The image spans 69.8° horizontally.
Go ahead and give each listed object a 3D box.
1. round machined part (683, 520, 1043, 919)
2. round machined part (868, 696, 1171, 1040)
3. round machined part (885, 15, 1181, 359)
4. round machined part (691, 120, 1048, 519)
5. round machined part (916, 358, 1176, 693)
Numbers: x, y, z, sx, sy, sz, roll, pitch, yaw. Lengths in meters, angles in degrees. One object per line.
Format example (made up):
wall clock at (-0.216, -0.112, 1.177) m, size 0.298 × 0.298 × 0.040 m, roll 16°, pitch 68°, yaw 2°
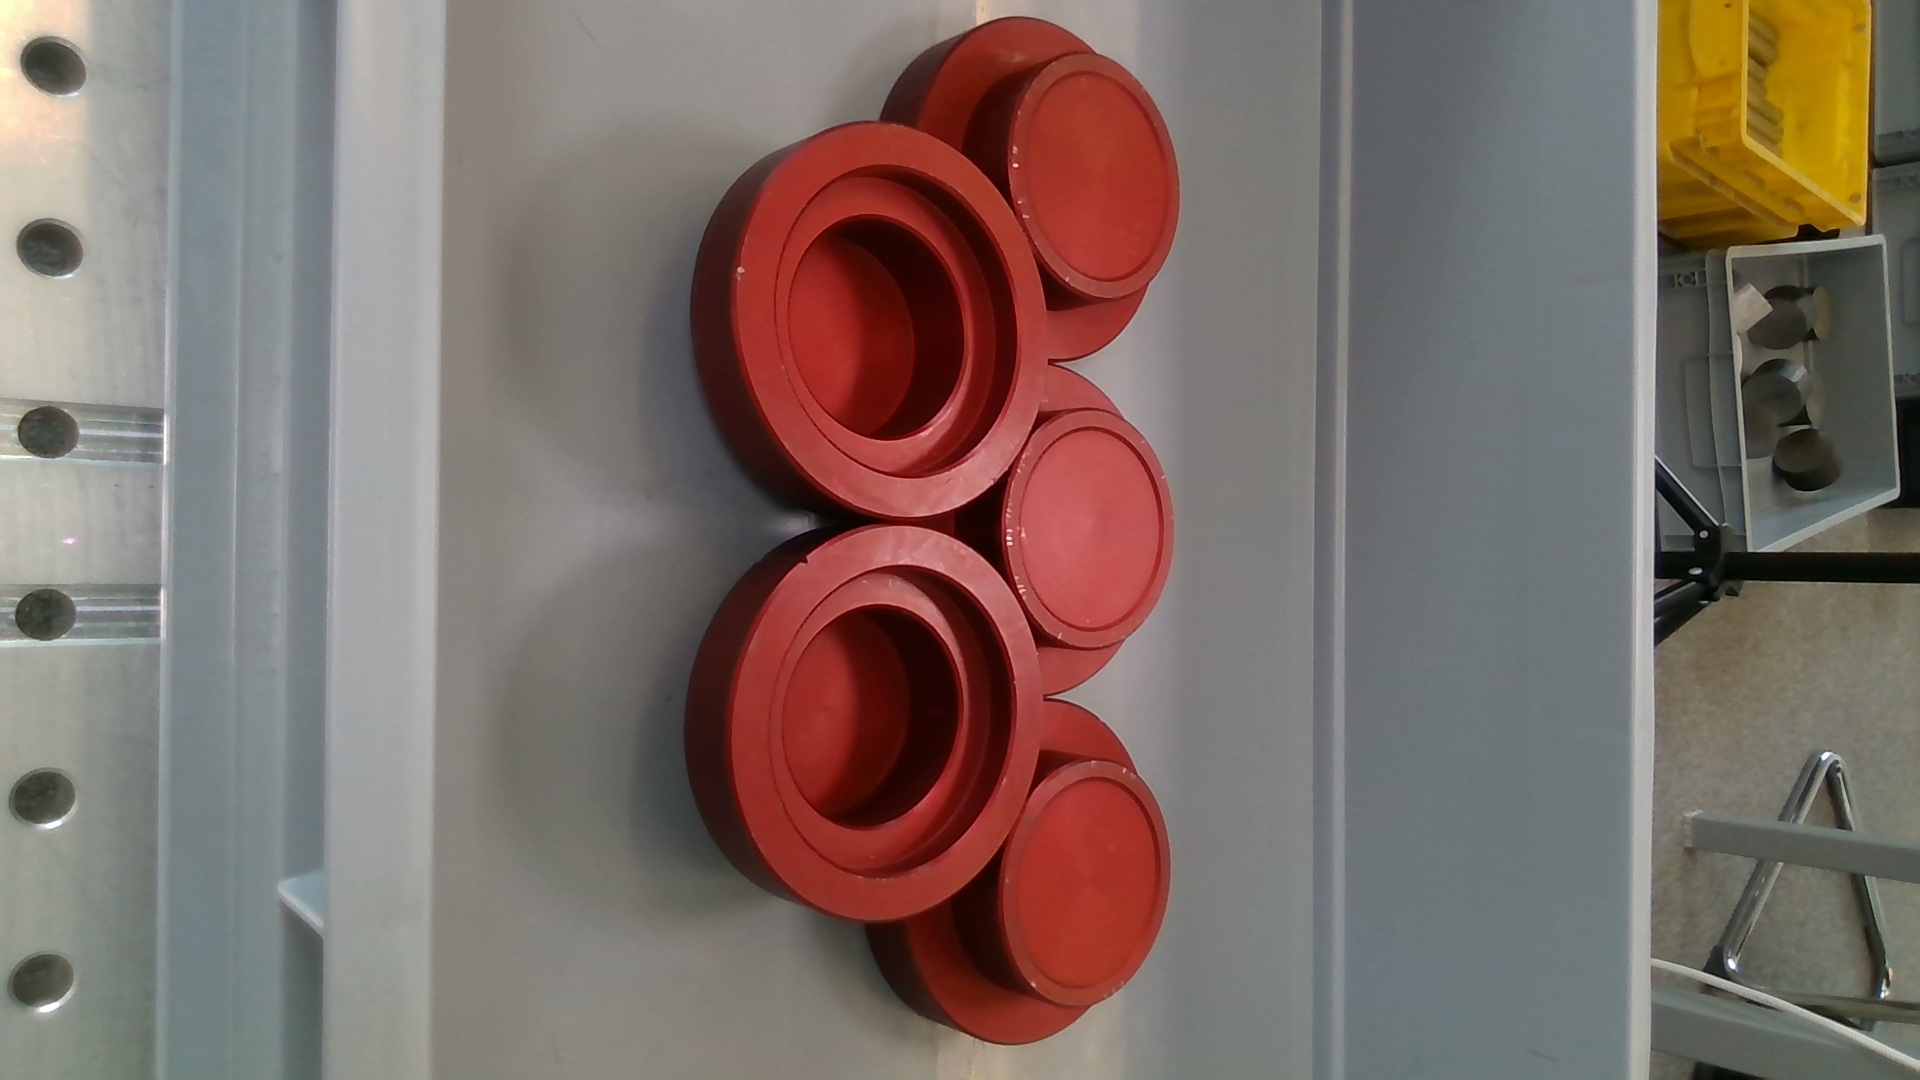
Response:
round machined part at (-0.028, 0.044, 0.355) m, size 0.098 × 0.042 × 0.098 m, roll 0°, pitch 90°, yaw -40°
round machined part at (0.023, 0.094, 0.397) m, size 0.098 × 0.042 × 0.098 m, roll 1°, pitch 89°, yaw -41°
round machined part at (0.026, -0.102, 0.399) m, size 0.098 × 0.042 × 0.098 m, roll -1°, pitch 92°, yaw -41°
round machined part at (-0.027, -0.054, 0.356) m, size 0.098 × 0.042 × 0.098 m, roll 0°, pitch 90°, yaw -40°
round machined part at (0.025, -0.004, 0.399) m, size 0.098 × 0.042 × 0.098 m, roll 1°, pitch 89°, yaw -41°
